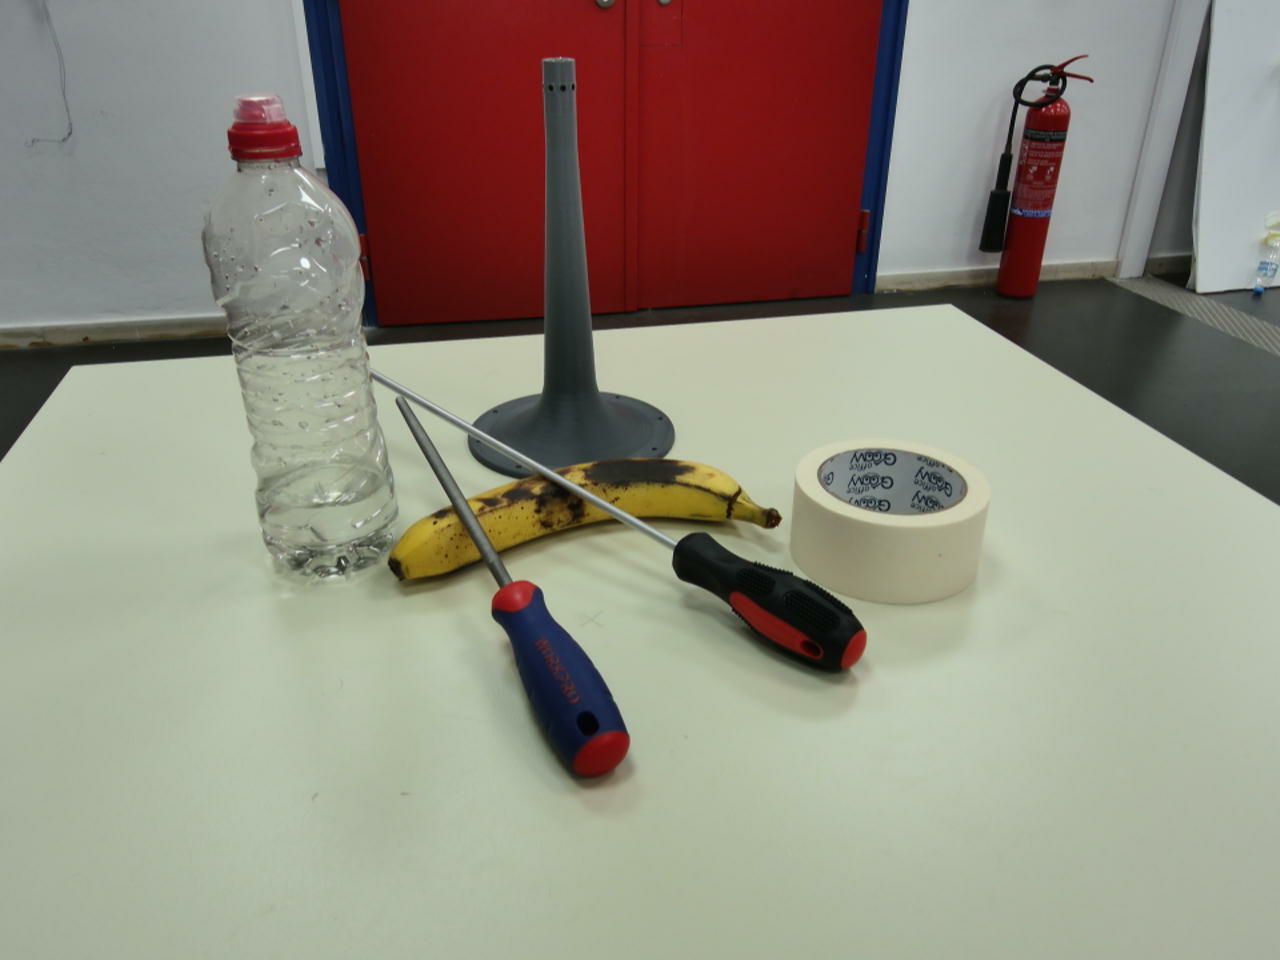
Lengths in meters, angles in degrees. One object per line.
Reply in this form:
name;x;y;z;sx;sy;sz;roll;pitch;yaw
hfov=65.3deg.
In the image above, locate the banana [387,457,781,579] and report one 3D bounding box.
banana;-0.035;0.017;0.589;0.222;0.037;0.084;-6;27;-11
